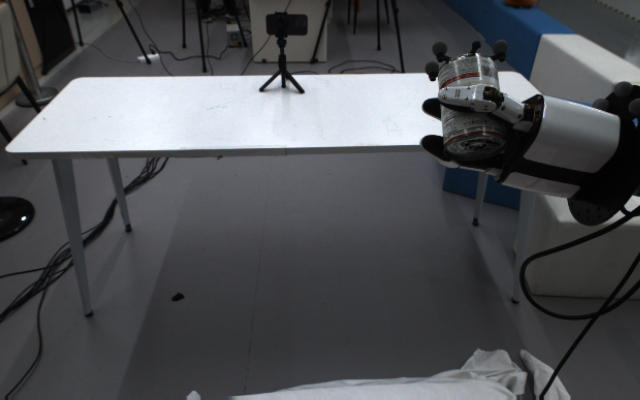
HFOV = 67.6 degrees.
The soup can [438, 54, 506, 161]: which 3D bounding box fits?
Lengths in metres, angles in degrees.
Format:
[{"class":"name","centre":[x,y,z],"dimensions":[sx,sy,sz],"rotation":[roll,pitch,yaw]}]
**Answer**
[{"class":"soup can","centre":[0.173,-0.104,0.548],"dimensions":[0.067,0.067,0.101],"rotation":[1,72,-2]}]
